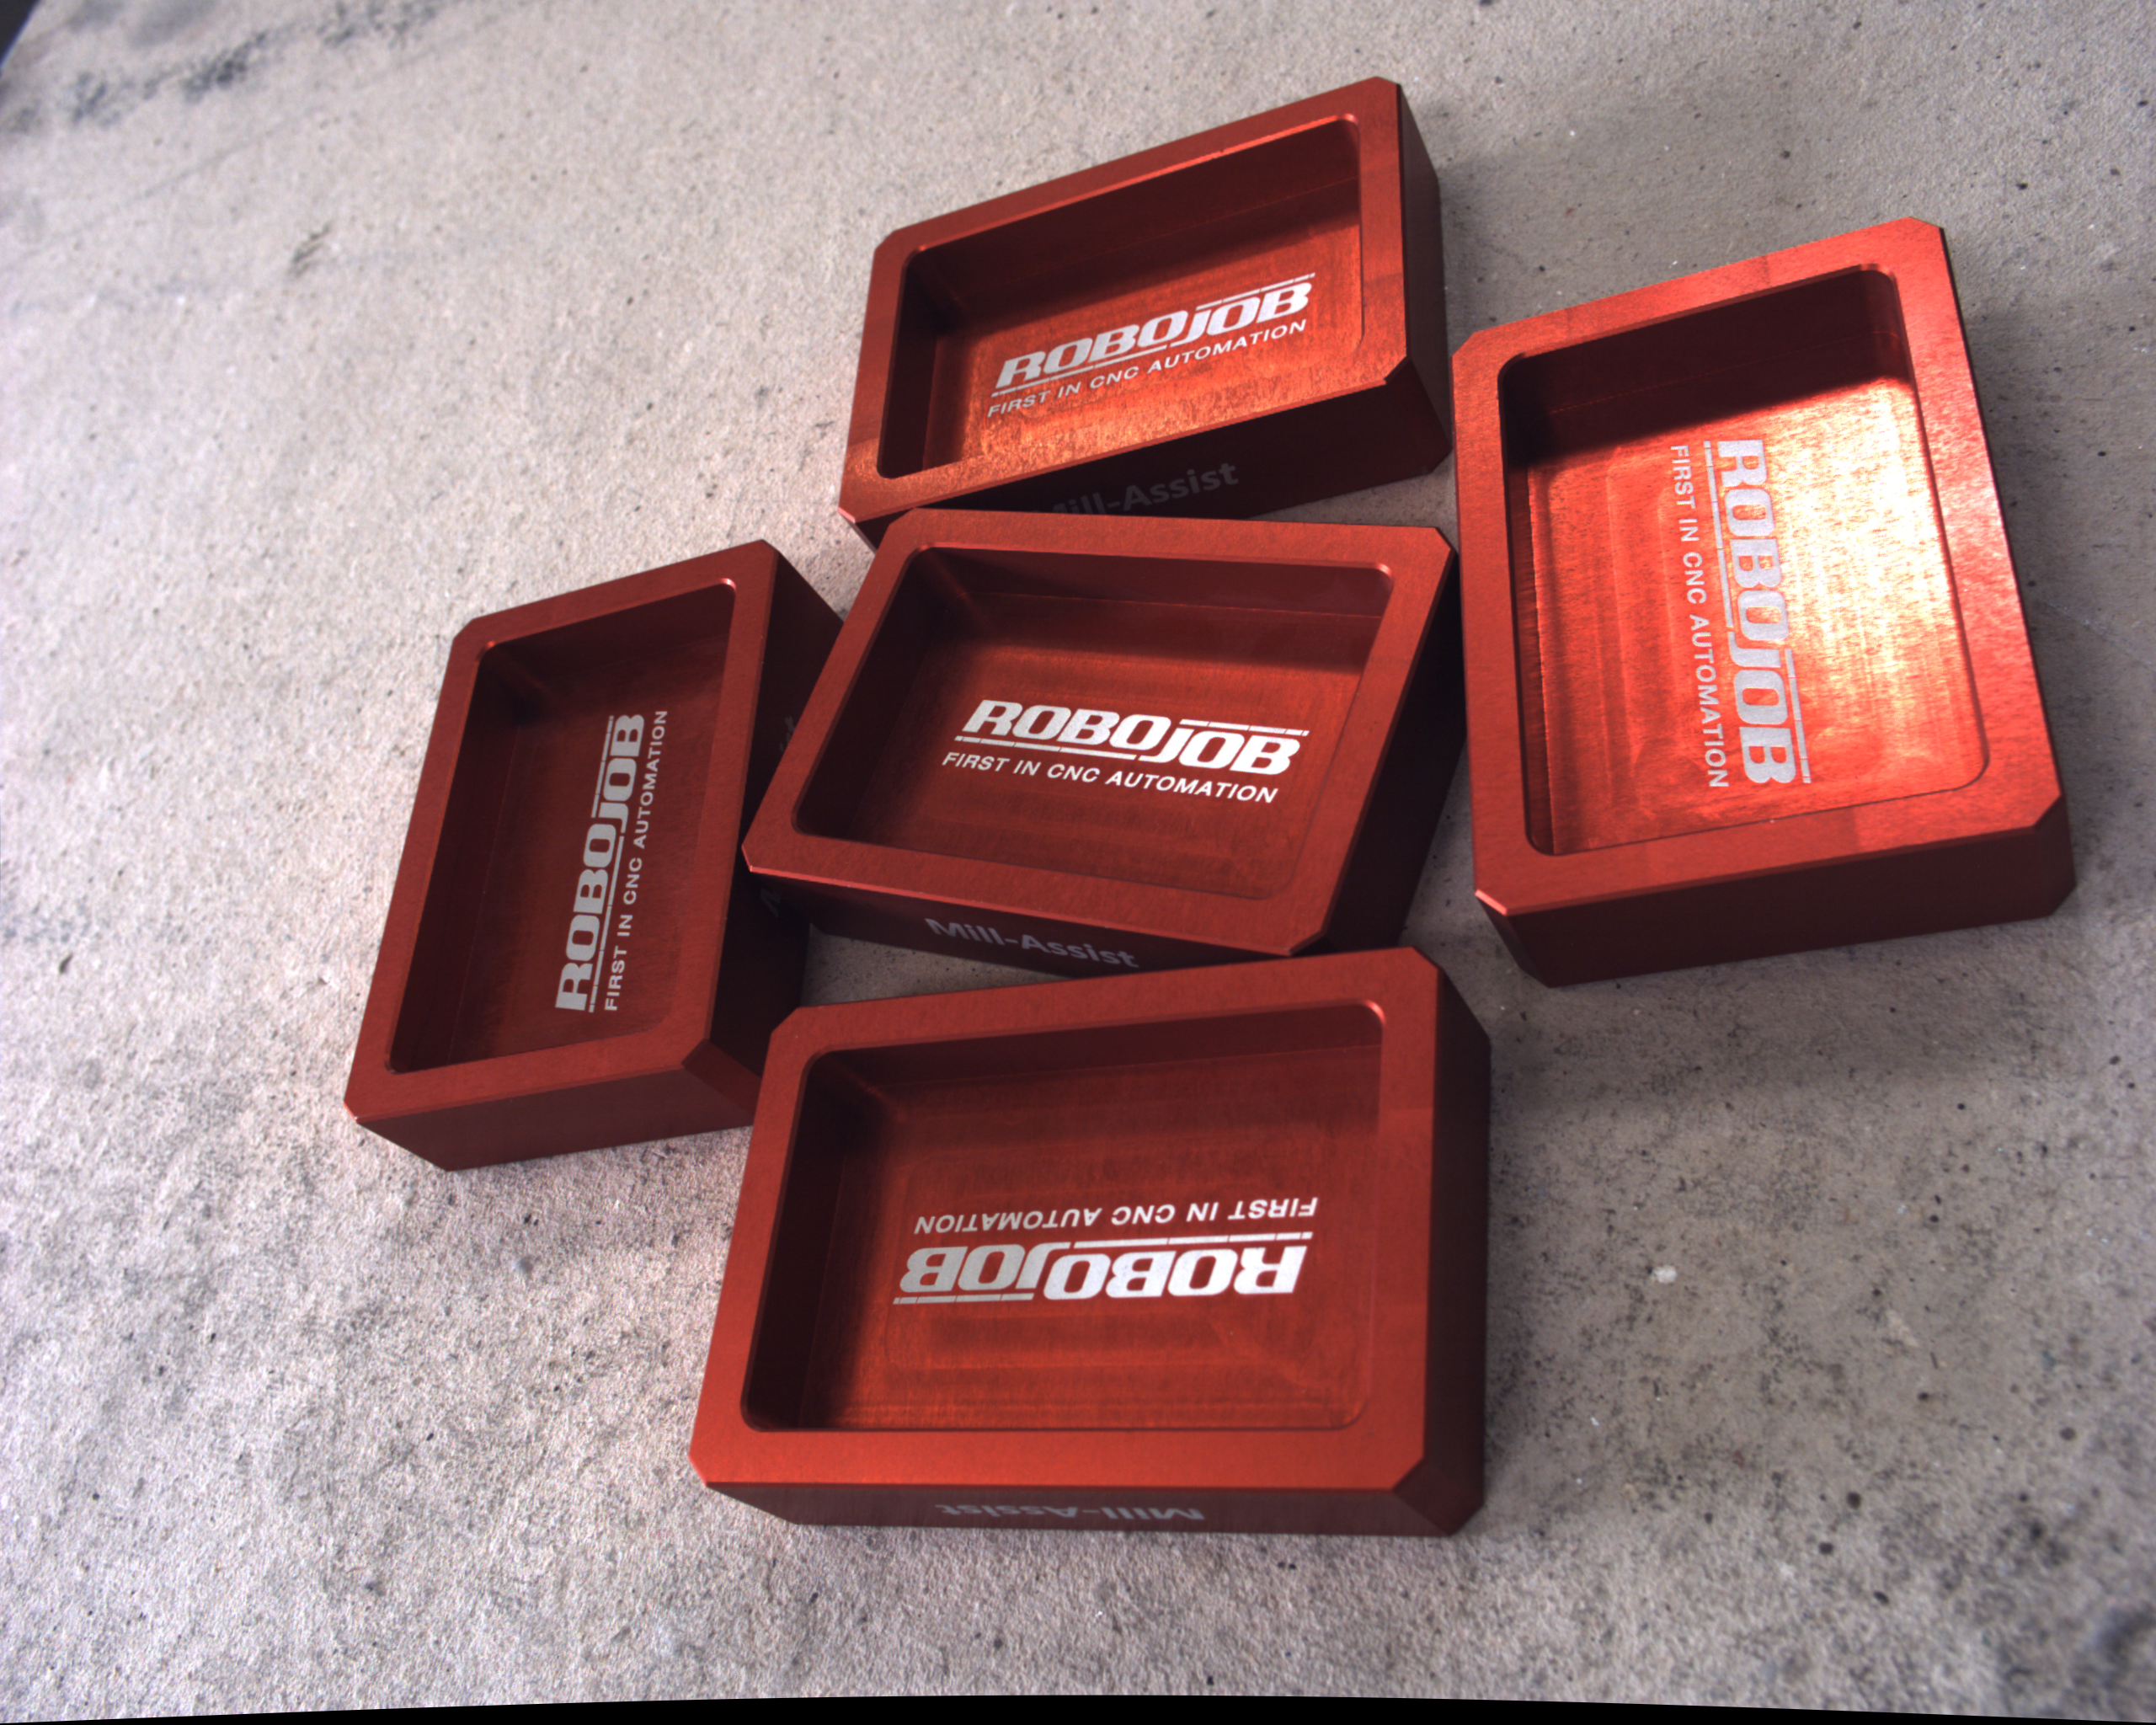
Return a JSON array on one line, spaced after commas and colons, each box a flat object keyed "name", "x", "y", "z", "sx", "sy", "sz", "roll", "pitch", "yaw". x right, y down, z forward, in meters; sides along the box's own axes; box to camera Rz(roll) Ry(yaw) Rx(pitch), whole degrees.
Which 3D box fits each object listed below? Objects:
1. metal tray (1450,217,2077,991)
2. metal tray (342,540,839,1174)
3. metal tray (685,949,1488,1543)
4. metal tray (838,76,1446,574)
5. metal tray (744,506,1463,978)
[{"name": "metal tray", "x": 0.116, "y": -0.047, "z": 0.370, "sx": 0.090, "sy": 0.030, "sz": 0.130, "roll": -11, "pitch": 57, "yaw": 23}, {"name": "metal tray", "x": -0.104, "y": -0.002, "z": 0.458, "sx": 0.090, "sy": 0.030, "sz": 0.130, "roll": -11, "pitch": 57, "yaw": 22}, {"name": "metal tray", "x": 0.002, "y": 0.067, "z": 0.359, "sx": 0.130, "sy": 0.030, "sz": 0.090, "roll": -7, "pitch": 58, "yaw": 24}, {"name": "metal tray", "x": 0.014, "y": -0.116, "z": 0.466, "sx": 0.130, "sy": 0.030, "sz": 0.090, "roll": -11, "pitch": 57, "yaw": 23}, {"name": "metal tray", "x": 0.006, "y": -0.024, "z": 0.413, "sx": 0.130, "sy": 0.030, "sz": 0.090, "roll": 8, "pitch": 67, "yaw": 32}]
